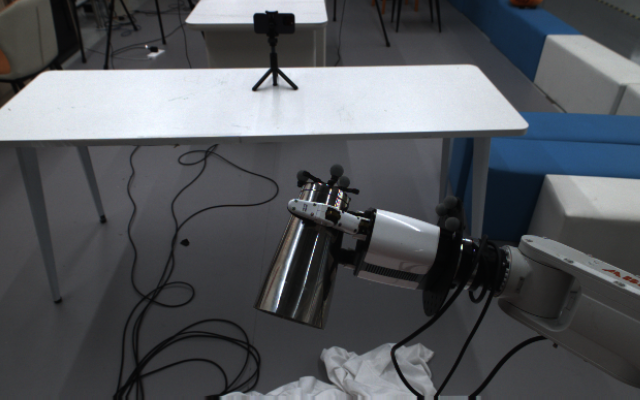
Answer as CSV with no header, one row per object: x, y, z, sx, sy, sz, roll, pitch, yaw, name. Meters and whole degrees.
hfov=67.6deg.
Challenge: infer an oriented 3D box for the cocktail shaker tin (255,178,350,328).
-0.014,0.066,0.619,0.093,0.093,0.170,12,72,14,cocktail shaker tin
